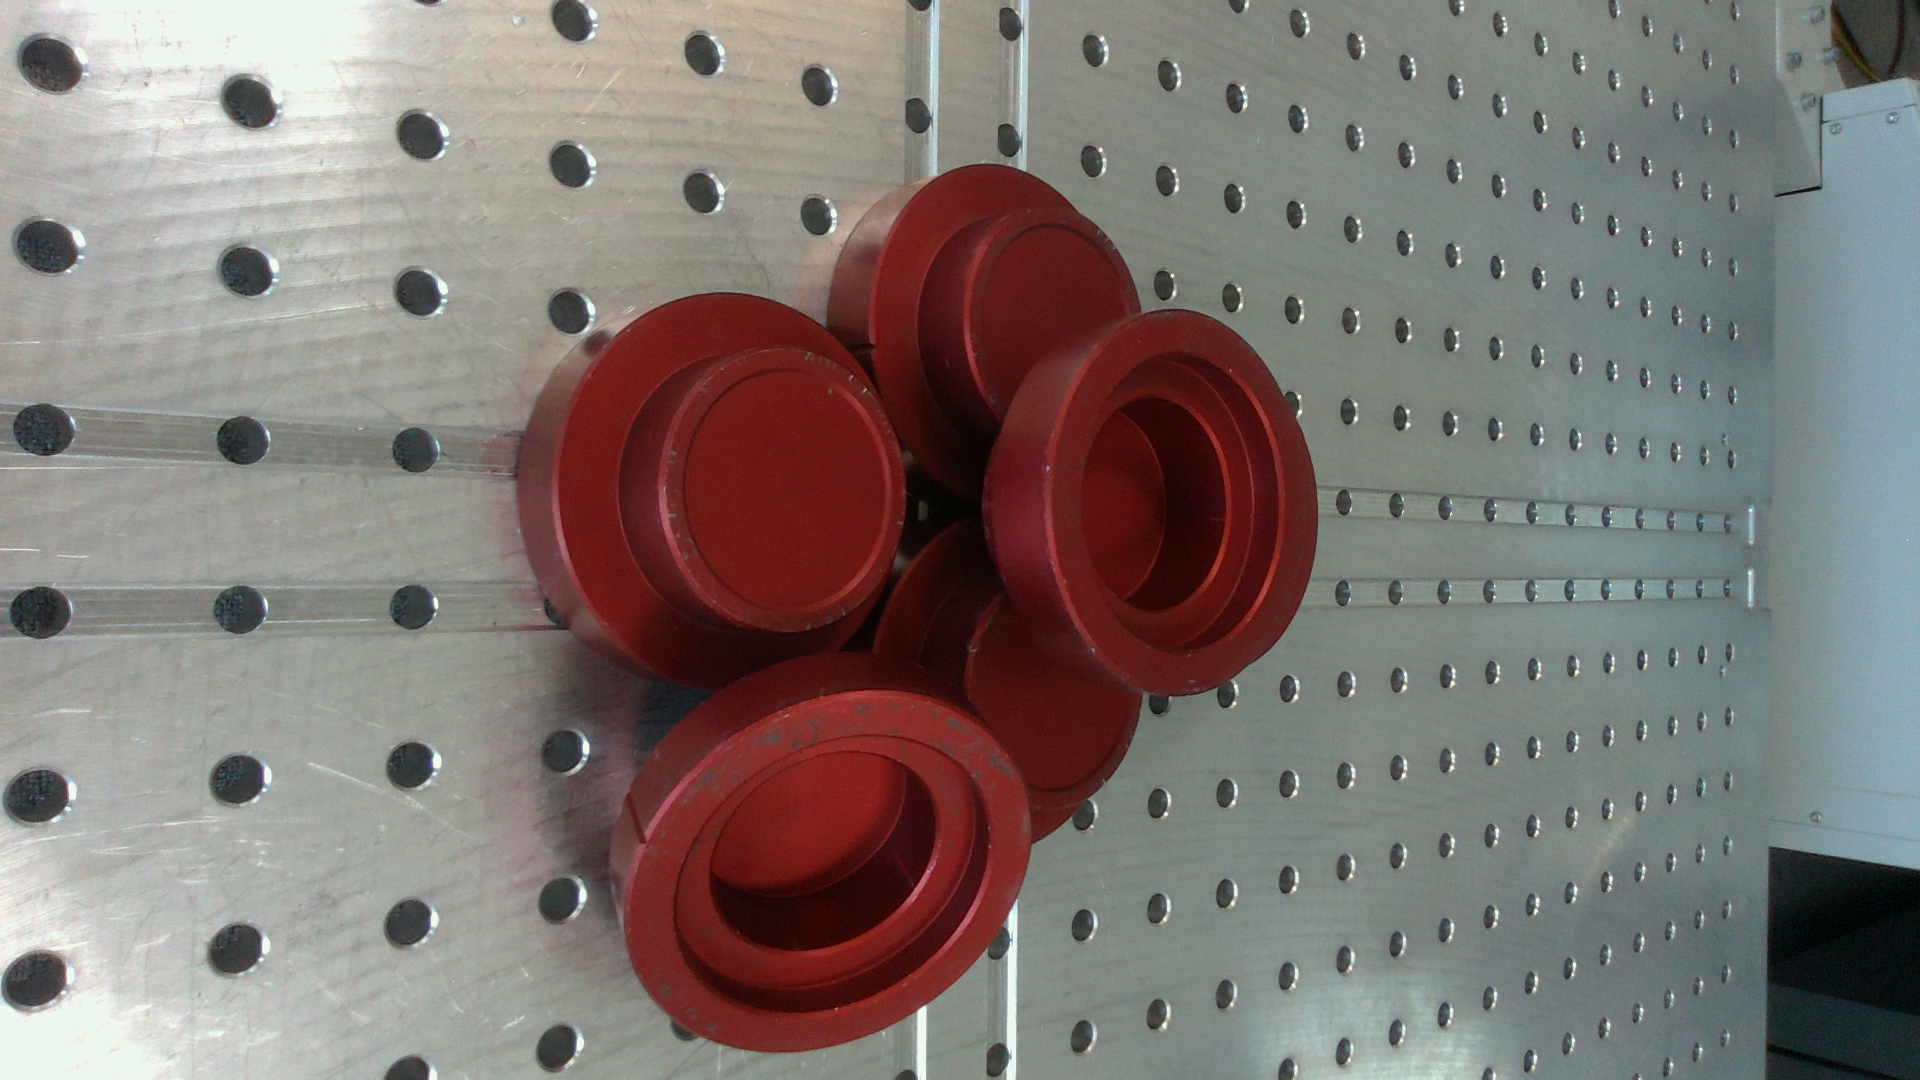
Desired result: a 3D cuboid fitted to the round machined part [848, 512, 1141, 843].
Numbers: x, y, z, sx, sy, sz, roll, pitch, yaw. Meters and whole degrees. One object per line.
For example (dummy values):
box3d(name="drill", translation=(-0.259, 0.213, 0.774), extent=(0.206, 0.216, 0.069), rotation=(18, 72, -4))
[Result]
box3d(name="round machined part", translation=(0.014, 0.040, 0.391), extent=(0.098, 0.042, 0.098), rotation=(0, 90, -40))

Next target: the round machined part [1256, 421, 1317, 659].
box3d(name="round machined part", translation=(0.066, -0.008, 0.435), extent=(0.098, 0.042, 0.098), rotation=(0, 90, -40))

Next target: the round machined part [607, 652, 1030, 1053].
box3d(name="round machined part", translation=(-0.036, 0.071, 0.333), extent=(0.098, 0.042, 0.098), rotation=(-10, 116, -21))

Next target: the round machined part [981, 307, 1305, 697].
box3d(name="round machined part", translation=(0.044, -0.009, 0.362), extent=(0.098, 0.042, 0.098), rotation=(0, 90, -40))

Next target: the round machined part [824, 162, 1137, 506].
box3d(name="round machined part", translation=(0.013, -0.058, 0.392), extent=(0.098, 0.042, 0.098), rotation=(0, 90, -40))

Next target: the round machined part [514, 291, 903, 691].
box3d(name="round machined part", translation=(-0.053, -0.012, 0.336), extent=(0.098, 0.042, 0.098), rotation=(0, 90, -40))
